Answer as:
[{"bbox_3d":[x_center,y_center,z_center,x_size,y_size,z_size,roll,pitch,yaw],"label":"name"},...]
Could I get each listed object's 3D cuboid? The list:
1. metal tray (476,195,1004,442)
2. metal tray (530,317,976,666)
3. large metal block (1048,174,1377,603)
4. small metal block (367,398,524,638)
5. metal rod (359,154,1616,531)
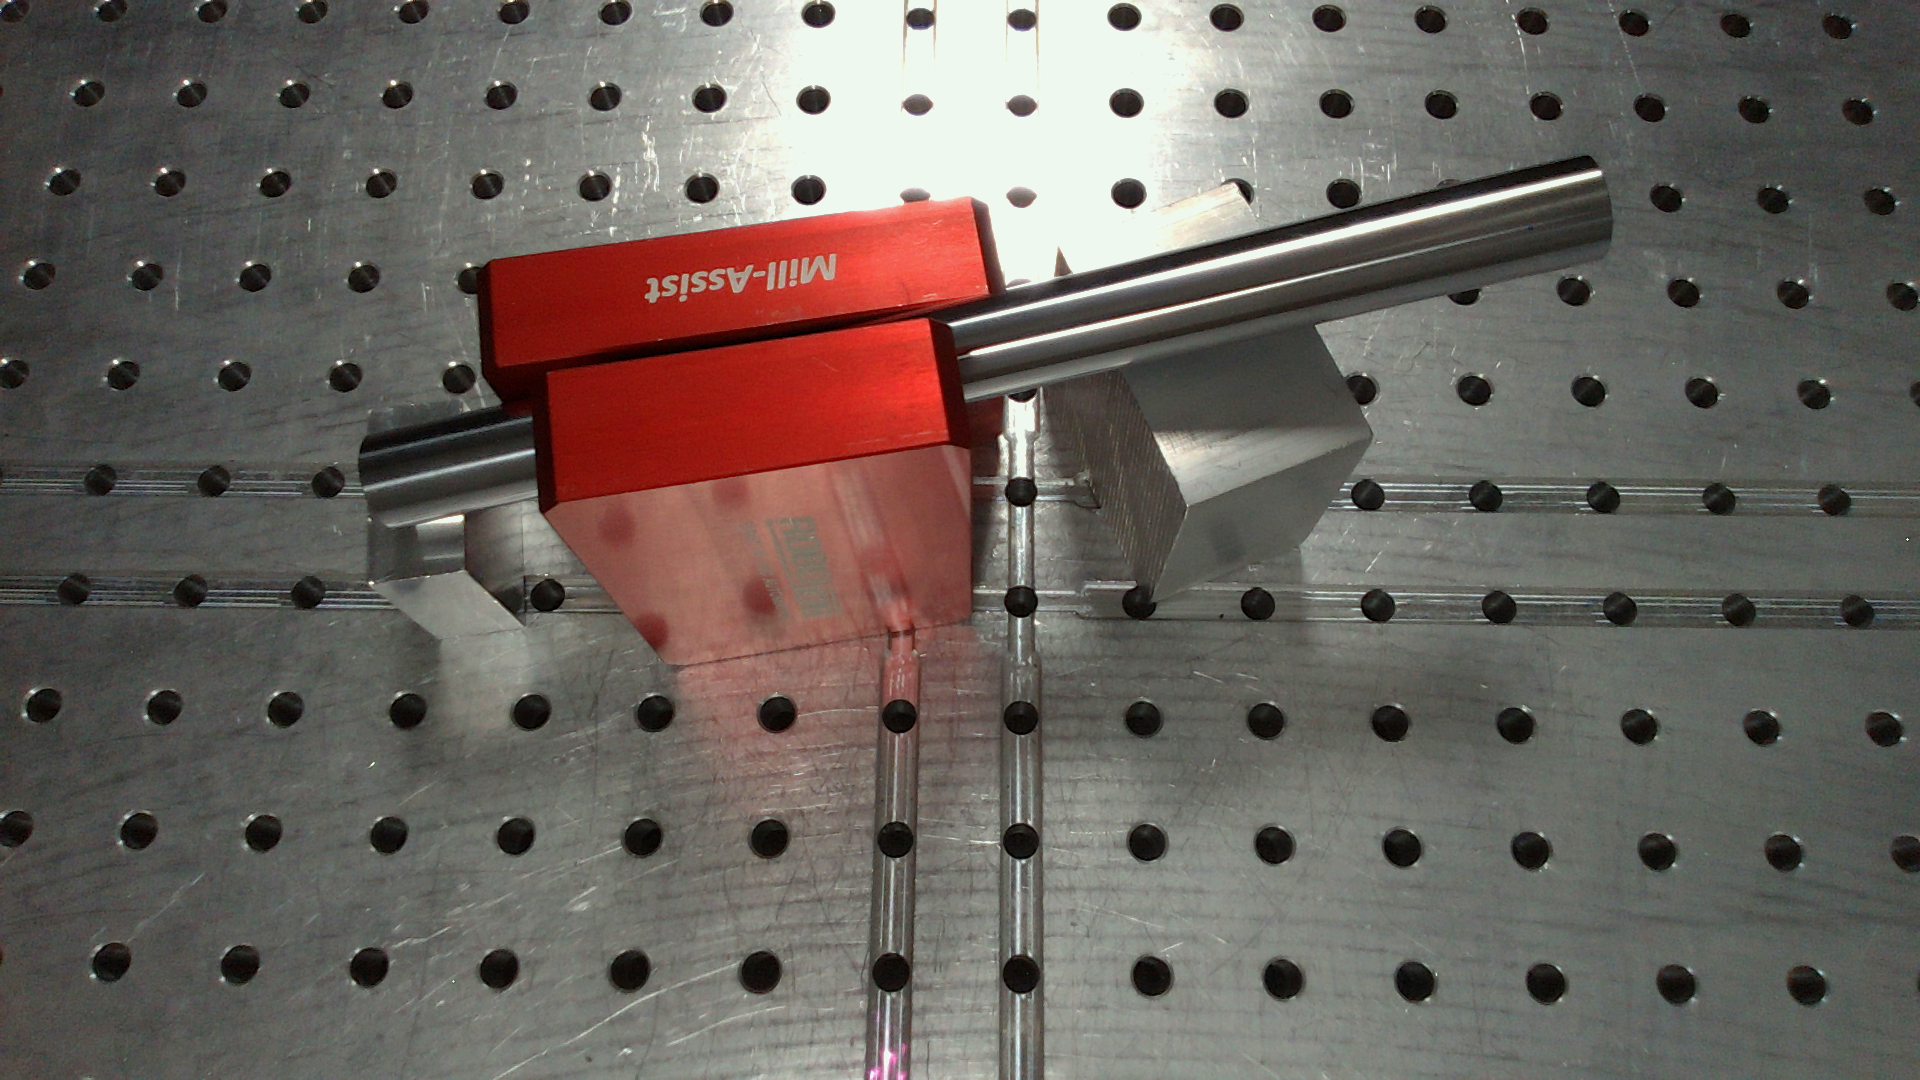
[{"bbox_3d":[-0.054,-0.050,0.380,0.130,0.090,0.030,-9,71,-3],"label":"metal tray"},{"bbox_3d":[-0.043,-0.006,0.343,0.090,0.130,0.030,-9,71,-3],"label":"metal tray"},{"bbox_3d":[0.063,-0.038,0.381,0.050,0.080,0.080,-21,71,-7],"label":"large metal block"},{"bbox_3d":[-0.143,-0.005,0.385,0.025,0.050,0.050,-8,70,-3],"label":"small metal block"},{"bbox_3d":[0.001,-0.046,0.333,0.300,0.025,0.025,-12,70,6],"label":"metal rod"}]
